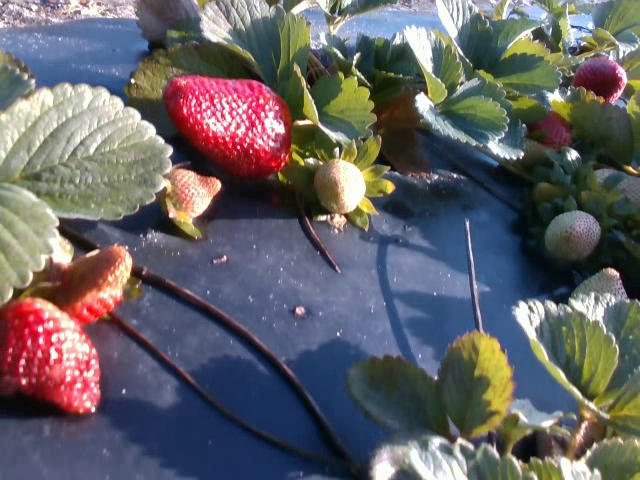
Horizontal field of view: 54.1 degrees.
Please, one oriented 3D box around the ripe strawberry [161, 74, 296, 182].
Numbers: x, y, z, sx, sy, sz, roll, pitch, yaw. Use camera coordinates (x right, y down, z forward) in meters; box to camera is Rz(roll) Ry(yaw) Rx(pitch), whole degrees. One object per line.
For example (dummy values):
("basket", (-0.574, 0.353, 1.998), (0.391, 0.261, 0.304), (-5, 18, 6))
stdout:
("ripe strawberry", (-0.043, -0.055, 0.272), (0.057, 0.055, 0.072), (-14, -2, 31))
